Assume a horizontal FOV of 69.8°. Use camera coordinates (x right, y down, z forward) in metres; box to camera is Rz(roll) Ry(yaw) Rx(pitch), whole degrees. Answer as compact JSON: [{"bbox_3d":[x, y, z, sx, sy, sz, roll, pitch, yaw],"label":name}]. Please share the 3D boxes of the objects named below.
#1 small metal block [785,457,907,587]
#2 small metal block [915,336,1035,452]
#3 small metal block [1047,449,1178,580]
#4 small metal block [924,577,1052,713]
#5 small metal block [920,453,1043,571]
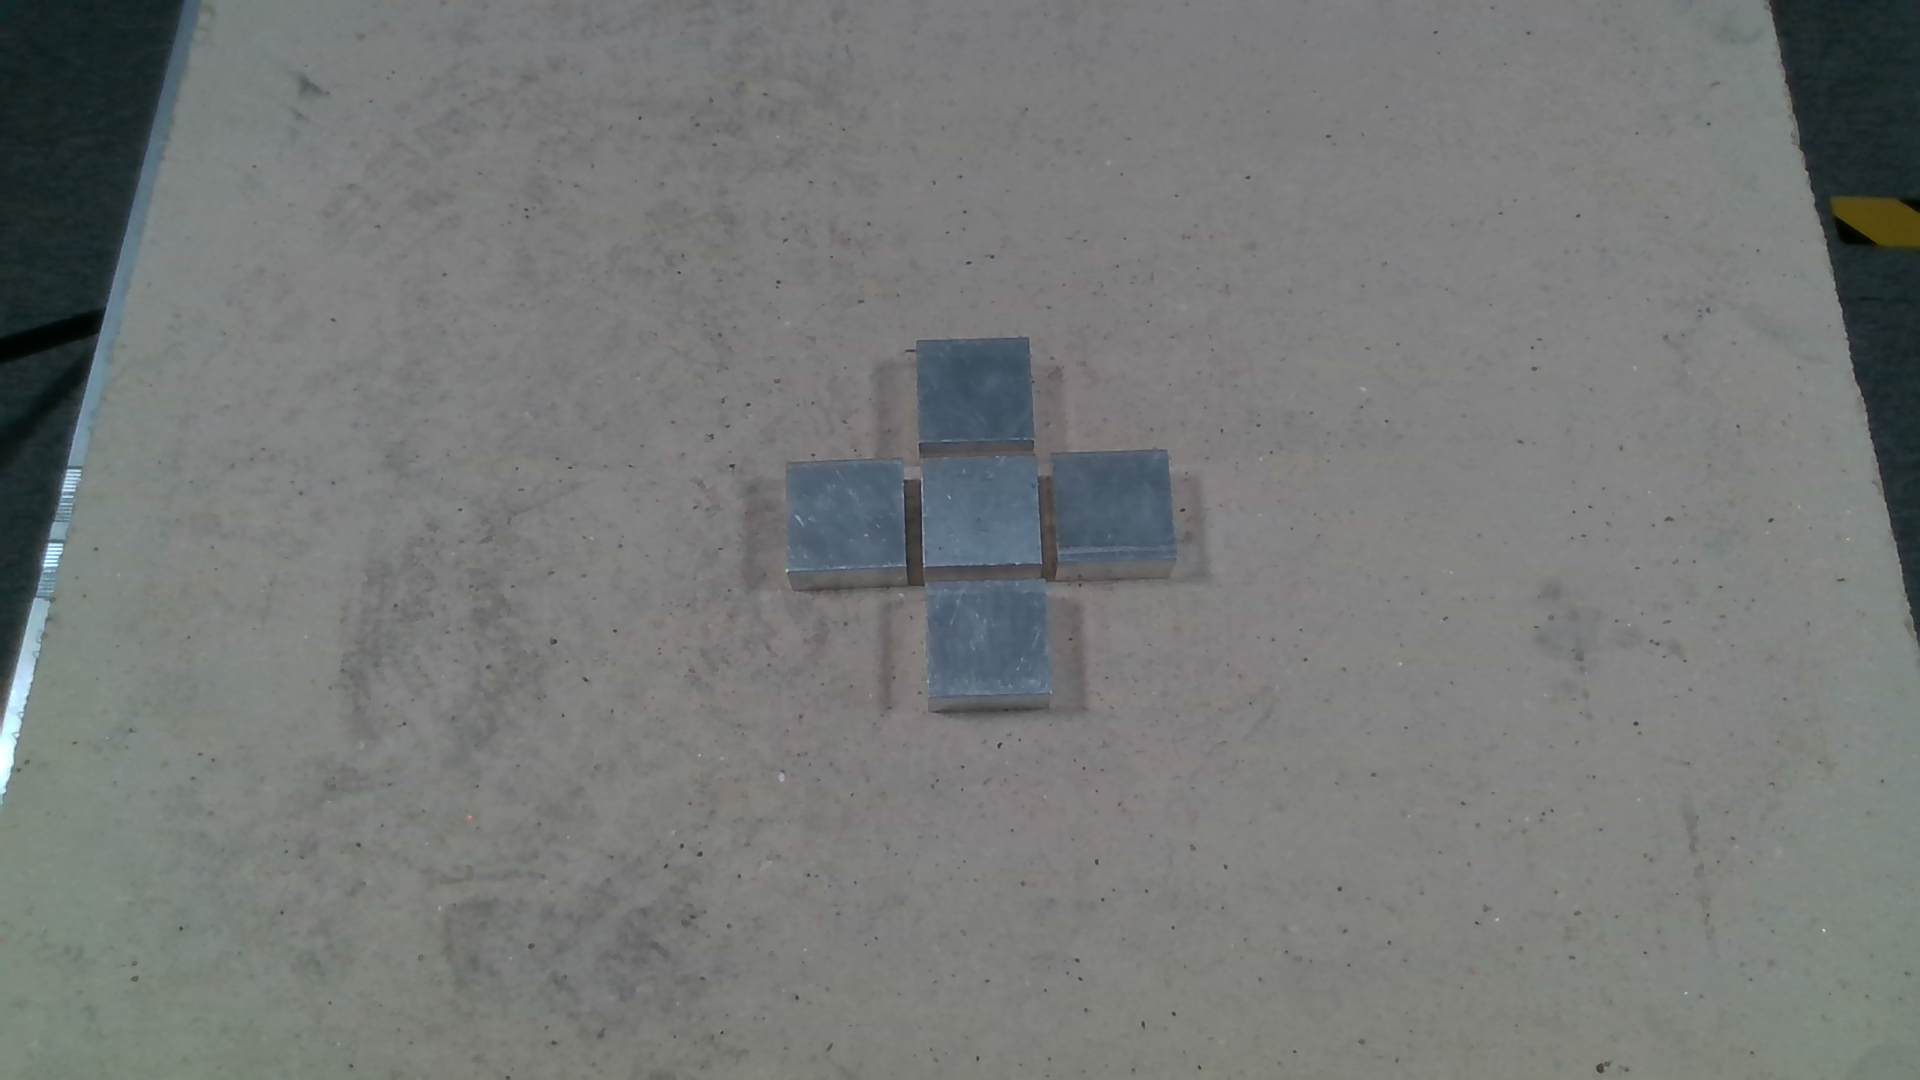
[{"bbox_3d":[-0.049,-0.007,0.591,0.050,0.025,0.050,-2,70,-1],"label":"small metal block"},{"bbox_3d":[0.006,-0.062,0.610,0.050,0.025,0.050,-2,70,-1],"label":"small metal block"},{"bbox_3d":[0.065,-0.010,0.592,0.050,0.025,0.050,-2,70,-1],"label":"small metal block"},{"bbox_3d":[0.011,0.044,0.573,0.050,0.025,0.050,-2,70,-1],"label":"small metal block"},{"bbox_3d":[0.009,-0.008,0.591,0.050,0.025,0.050,-2,70,-1],"label":"small metal block"}]
